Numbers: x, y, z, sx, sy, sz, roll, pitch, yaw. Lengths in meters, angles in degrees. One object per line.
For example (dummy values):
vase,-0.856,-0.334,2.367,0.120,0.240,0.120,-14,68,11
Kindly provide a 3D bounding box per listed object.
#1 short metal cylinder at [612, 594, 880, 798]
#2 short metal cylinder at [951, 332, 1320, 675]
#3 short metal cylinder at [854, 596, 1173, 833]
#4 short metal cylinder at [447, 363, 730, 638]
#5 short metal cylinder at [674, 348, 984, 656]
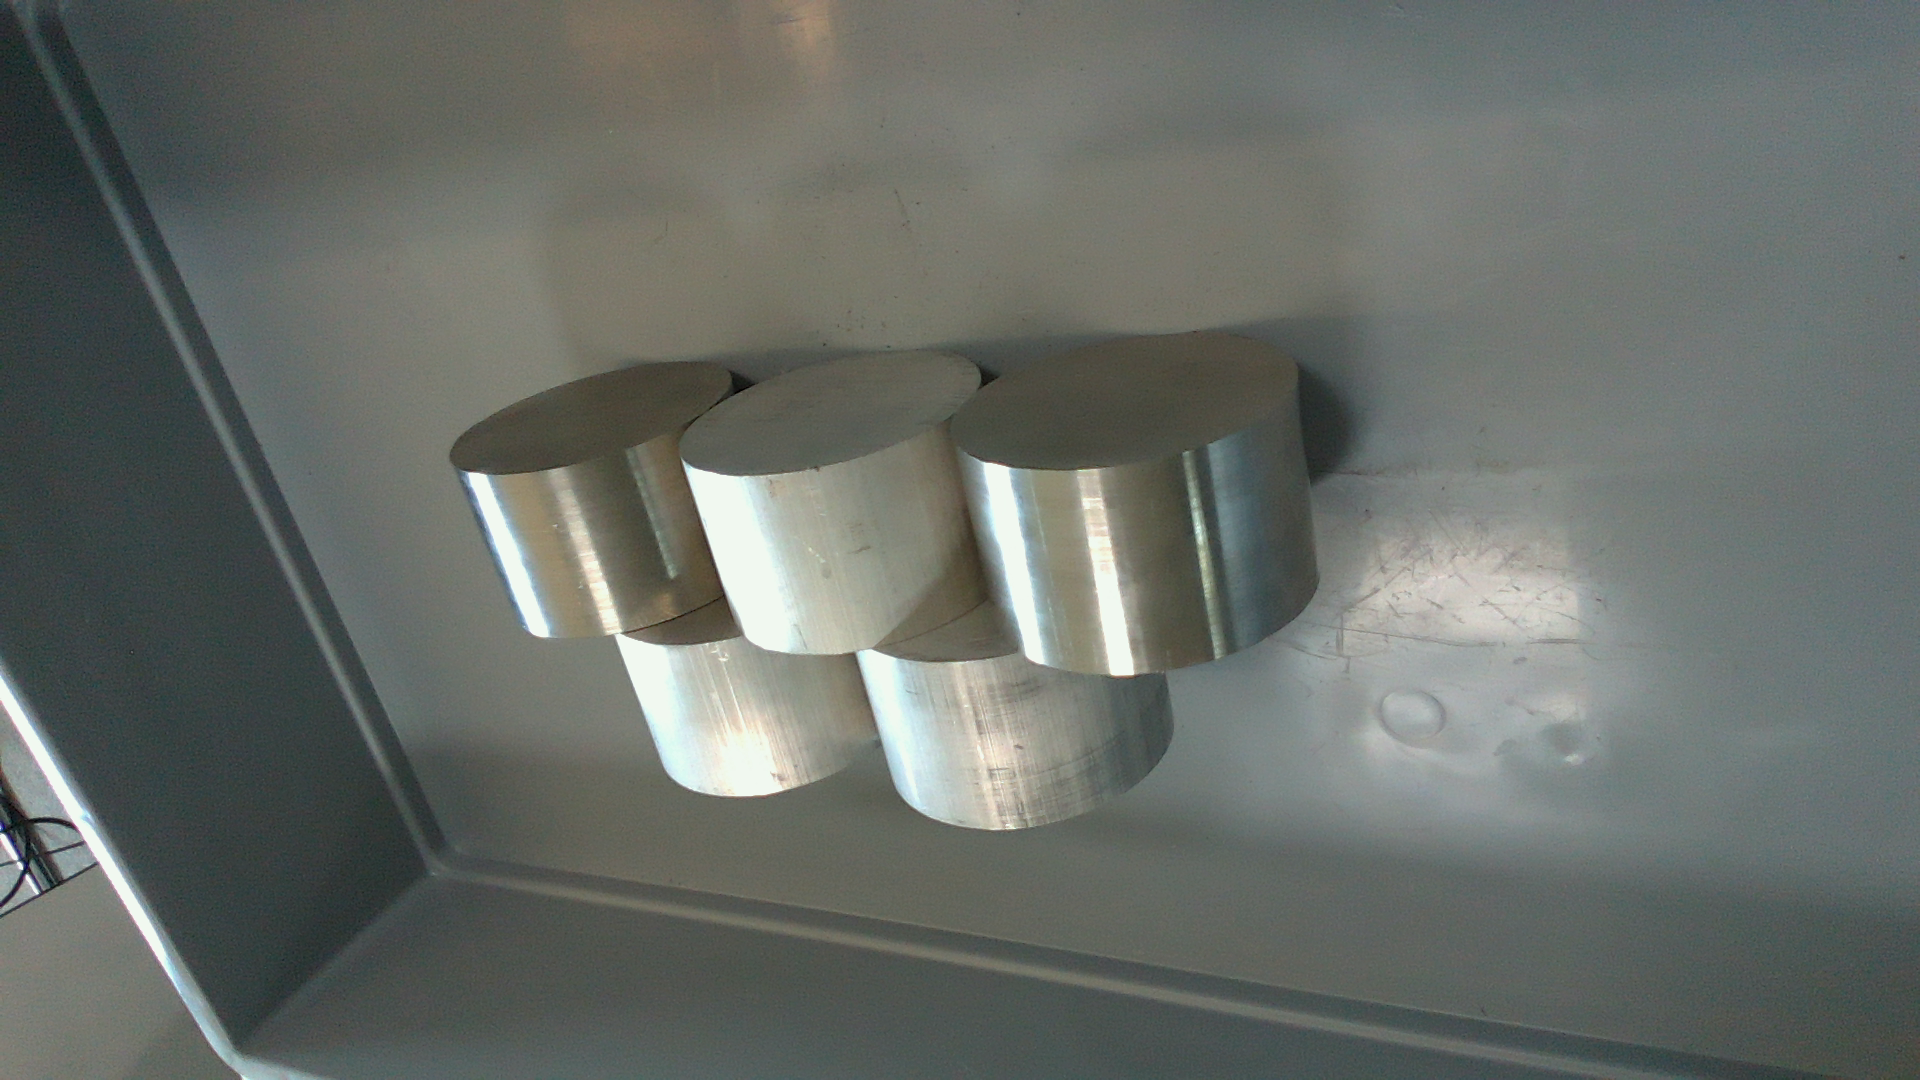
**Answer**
short metal cylinder,-0.058,0.031,0.406,0.080,0.080,0.050,1,119,28
short metal cylinder,0.042,-0.011,0.326,0.080,0.080,0.050,2,119,28
short metal cylinder,0.014,0.033,0.368,0.080,0.080,0.050,1,119,28
short metal cylinder,-0.100,-0.014,0.401,0.080,0.080,0.050,1,119,28
short metal cylinder,-0.029,-0.012,0.364,0.080,0.080,0.050,1,119,28
